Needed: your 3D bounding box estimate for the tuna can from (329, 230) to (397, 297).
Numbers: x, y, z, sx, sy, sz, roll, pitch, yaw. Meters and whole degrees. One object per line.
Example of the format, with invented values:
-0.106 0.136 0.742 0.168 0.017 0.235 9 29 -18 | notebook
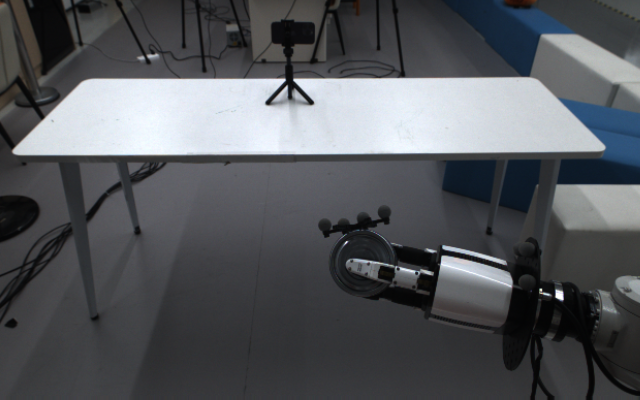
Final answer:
0.058 0.078 0.617 0.085 0.085 0.034 12 -6 14 | tuna can
